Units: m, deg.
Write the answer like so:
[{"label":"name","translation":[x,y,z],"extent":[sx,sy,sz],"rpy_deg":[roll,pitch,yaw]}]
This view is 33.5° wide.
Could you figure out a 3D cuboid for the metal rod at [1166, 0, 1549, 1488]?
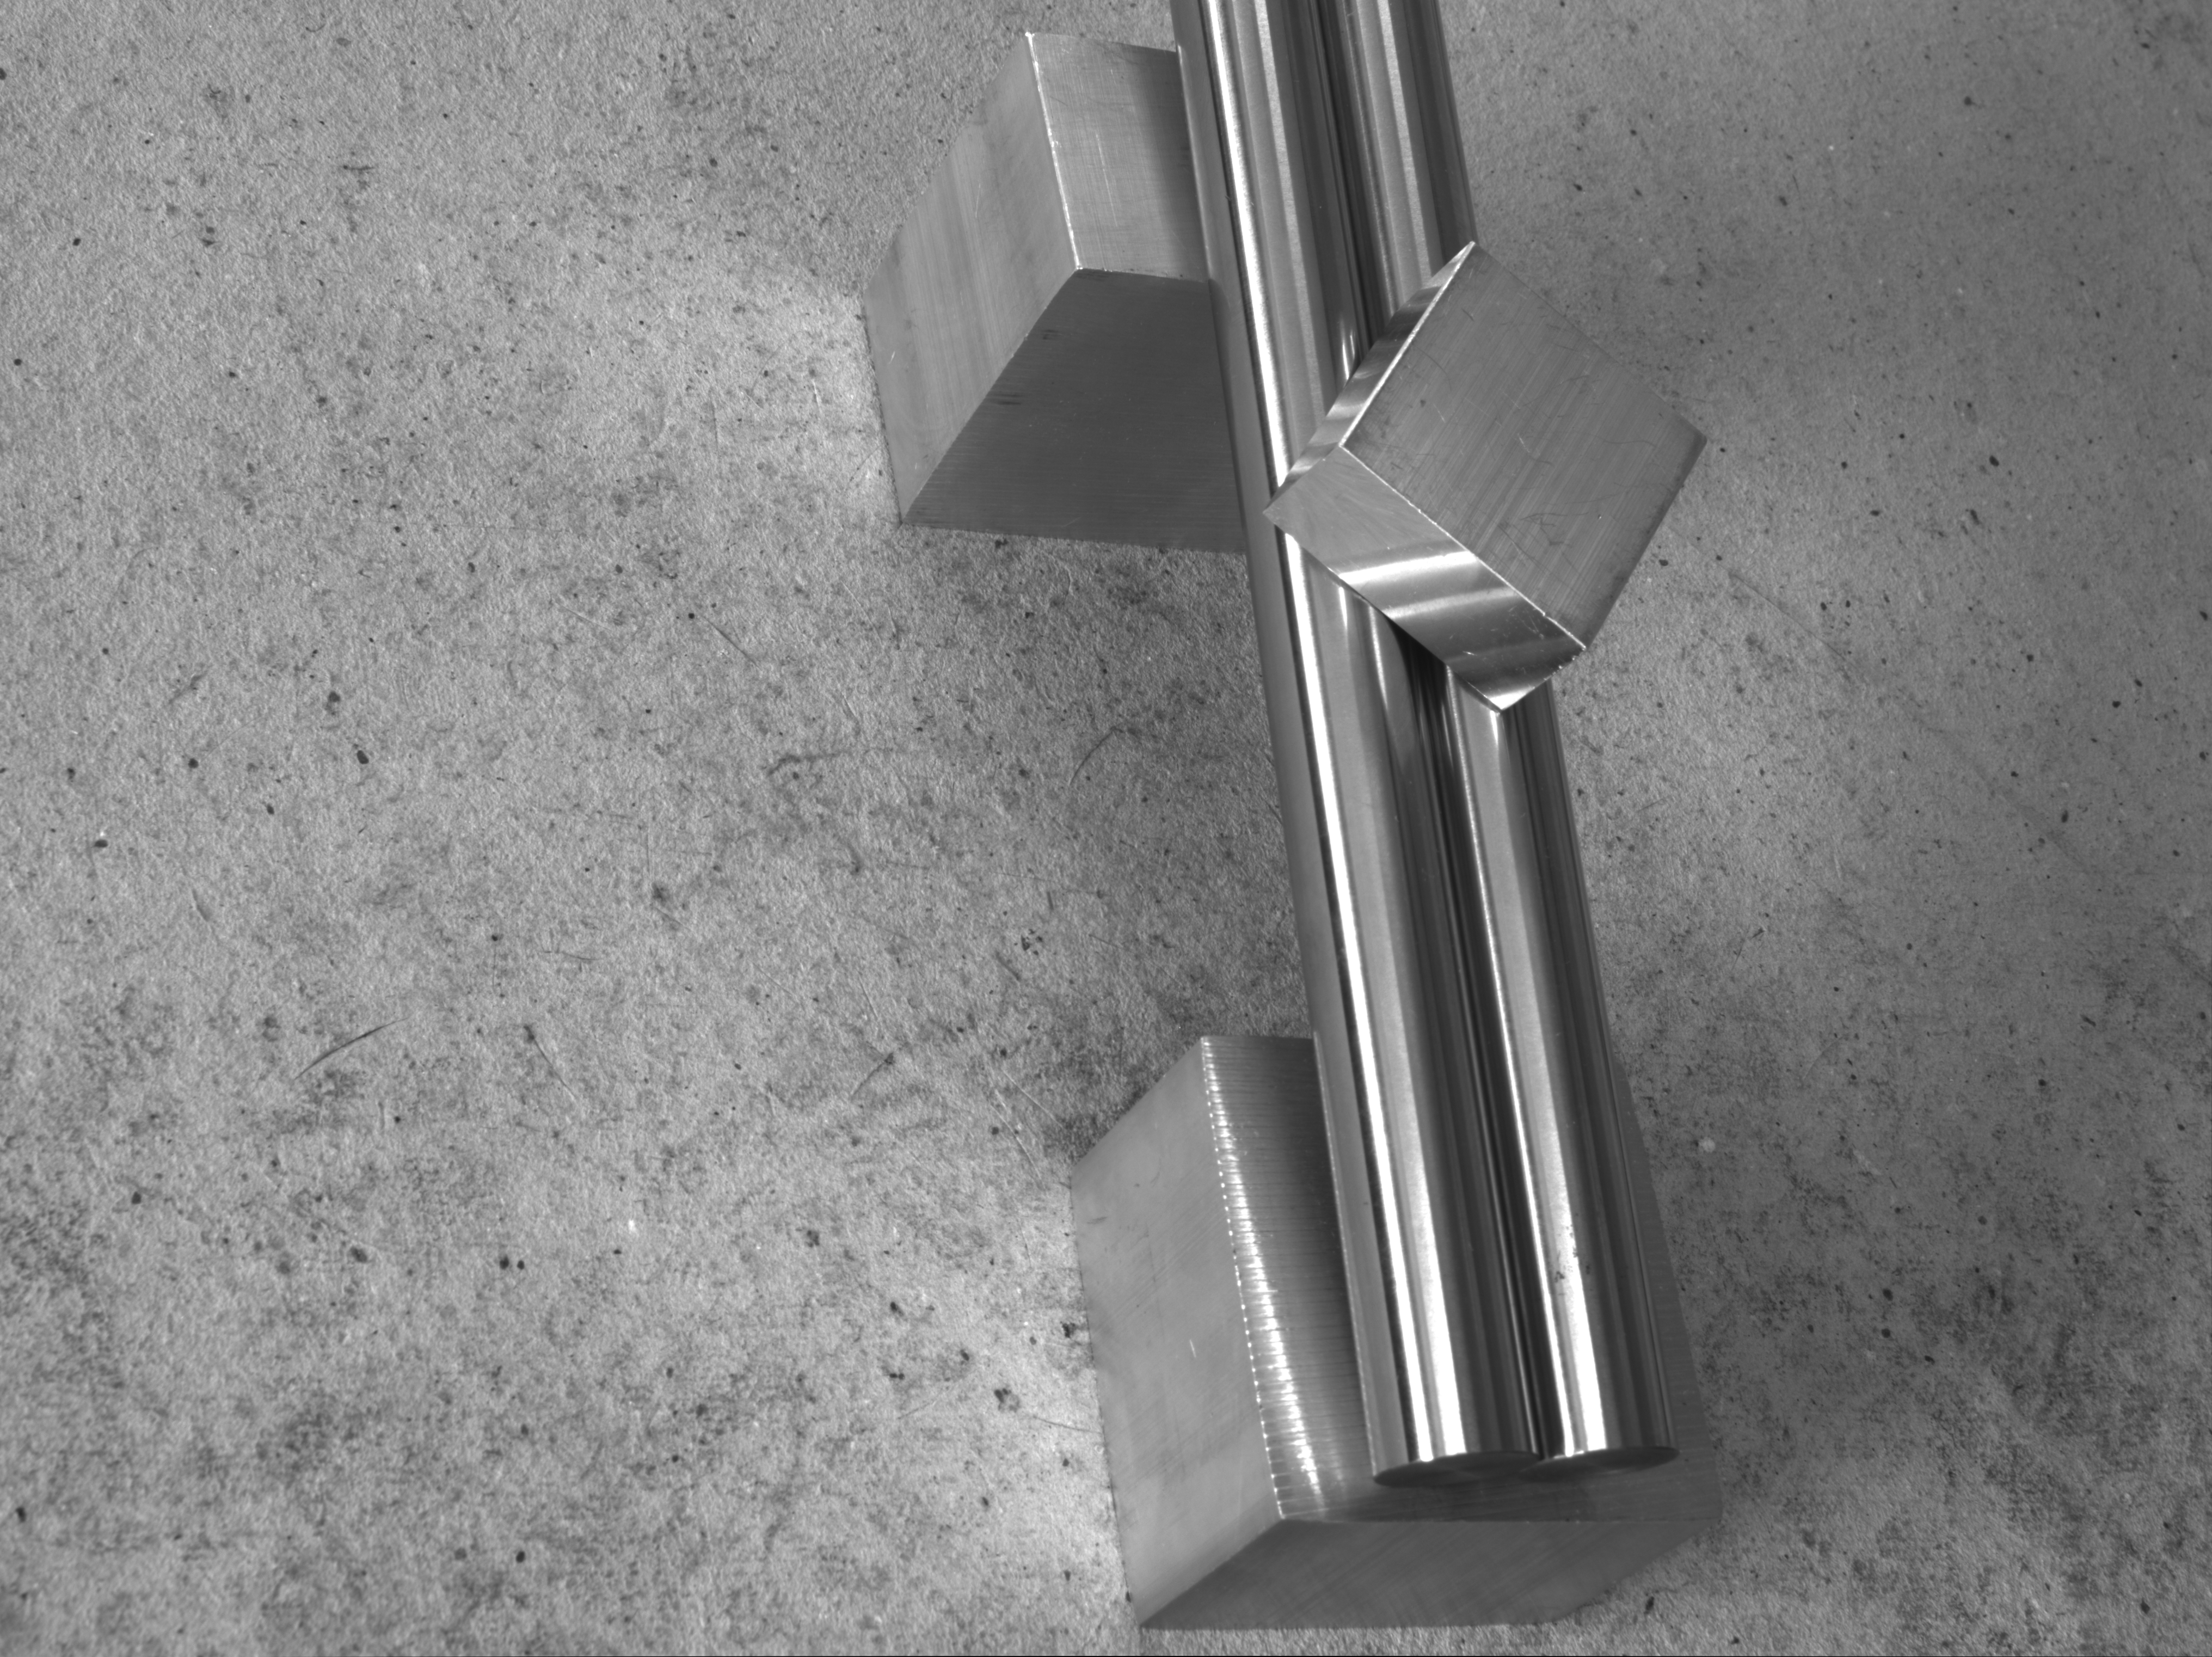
[{"label":"metal rod","translation":[0.035,-0.045,0.592],"extent":[0.025,0.025,0.300],"rpy_deg":[3,67,-26]}]

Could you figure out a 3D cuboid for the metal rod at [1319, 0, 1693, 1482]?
[{"label":"metal rod","translation":[0.058,-0.044,0.604],"extent":[0.025,0.025,0.300],"rpy_deg":[3,67,-26]}]

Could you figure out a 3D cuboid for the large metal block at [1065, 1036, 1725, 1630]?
[{"label":"large metal block","translation":[0.045,0.083,0.597],"extent":[0.080,0.050,0.080],"rpy_deg":[5,59,-26]}]

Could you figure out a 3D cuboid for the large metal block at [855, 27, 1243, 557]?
[{"label":"large metal block","translation":[0.009,-0.094,0.667],"extent":[0.080,0.080,0.050],"rpy_deg":[3,60,-26]}]

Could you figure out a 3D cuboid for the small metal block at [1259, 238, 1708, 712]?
[{"label":"small metal block","translation":[0.060,-0.056,0.581],"extent":[0.050,0.025,0.050],"rpy_deg":[39,56,-9]}]
